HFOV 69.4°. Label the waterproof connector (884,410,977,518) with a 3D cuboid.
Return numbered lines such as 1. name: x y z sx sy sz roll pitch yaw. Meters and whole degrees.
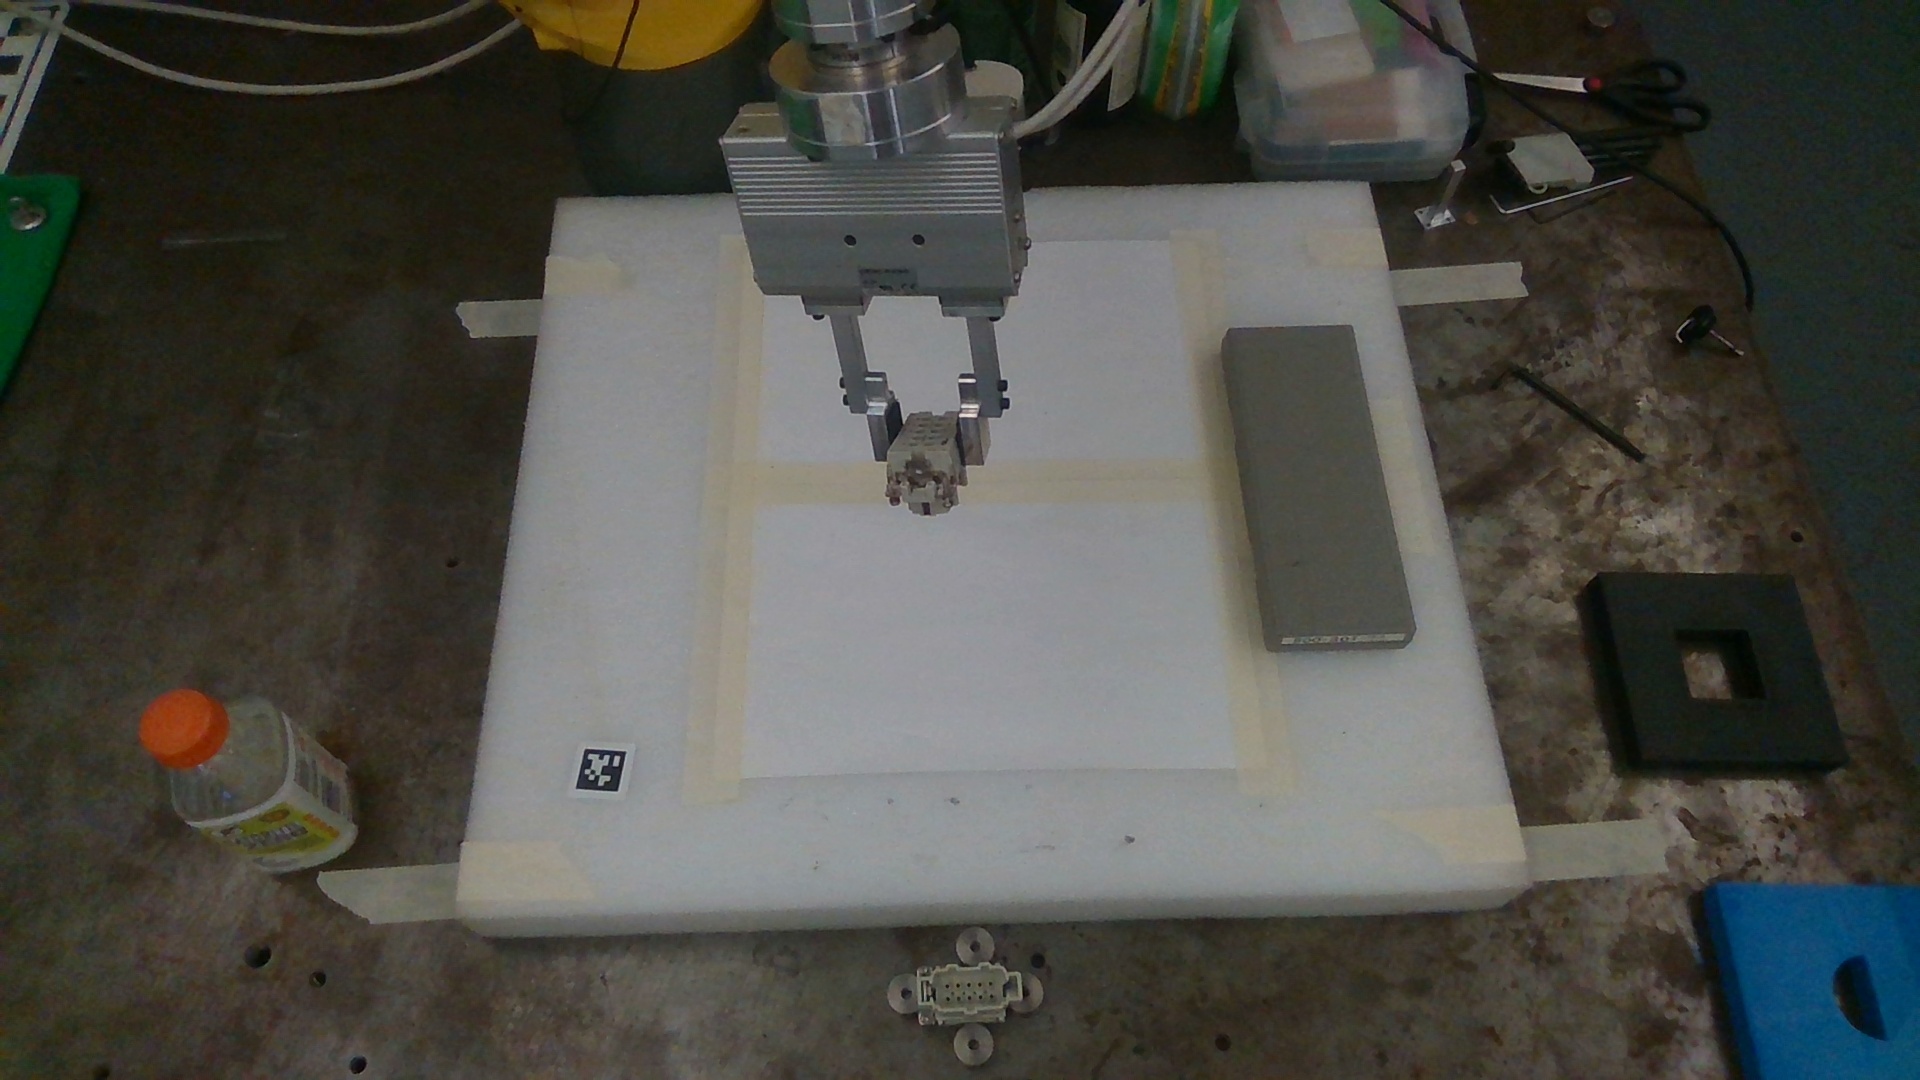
1. waterproof connector: -0.014 -0.038 0.689 0.037 0.038 0.069 1 27 10
